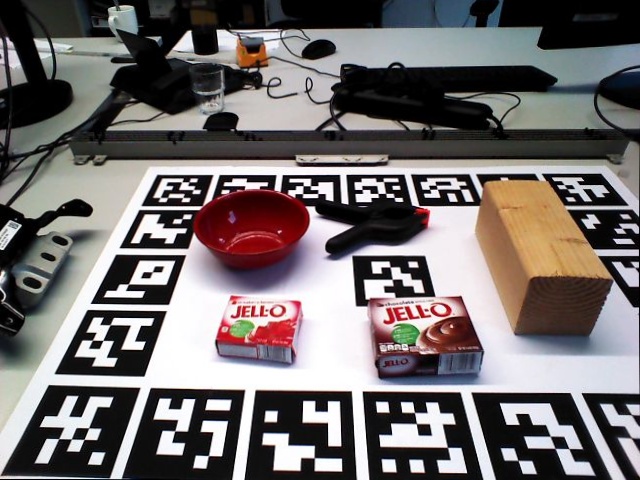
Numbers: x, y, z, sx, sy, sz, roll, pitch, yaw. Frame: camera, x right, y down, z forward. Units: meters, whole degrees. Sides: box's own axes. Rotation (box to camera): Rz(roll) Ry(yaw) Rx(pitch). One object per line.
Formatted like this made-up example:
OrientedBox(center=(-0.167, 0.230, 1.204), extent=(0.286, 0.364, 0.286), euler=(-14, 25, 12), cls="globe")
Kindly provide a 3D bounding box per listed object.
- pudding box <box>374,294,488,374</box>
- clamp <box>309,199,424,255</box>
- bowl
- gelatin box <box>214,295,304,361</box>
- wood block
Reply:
OrientedBox(center=(0.119, 0.103, 0.576), extent=(0.114, 0.039, 0.089), euler=(-2, 41, 3), cls="pudding box")
OrientedBox(center=(0.074, -0.027, 0.761), extent=(0.165, 0.037, 0.121), euler=(-5, 37, -8), cls="clamp")
OrientedBox(center=(-0.089, -0.010, 0.726), extent=(0.162, 0.055, 0.161), euler=(0, 40, 0), cls="bowl")
OrientedBox(center=(-0.068, 0.097, 0.594), extent=(0.090, 0.030, 0.073), euler=(5, 40, 8), cls="gelatin box")
OrientedBox(center=(0.280, 0.011, 0.646), extent=(0.090, 0.091, 0.205), euler=(2, 38, 3), cls="wood block")
